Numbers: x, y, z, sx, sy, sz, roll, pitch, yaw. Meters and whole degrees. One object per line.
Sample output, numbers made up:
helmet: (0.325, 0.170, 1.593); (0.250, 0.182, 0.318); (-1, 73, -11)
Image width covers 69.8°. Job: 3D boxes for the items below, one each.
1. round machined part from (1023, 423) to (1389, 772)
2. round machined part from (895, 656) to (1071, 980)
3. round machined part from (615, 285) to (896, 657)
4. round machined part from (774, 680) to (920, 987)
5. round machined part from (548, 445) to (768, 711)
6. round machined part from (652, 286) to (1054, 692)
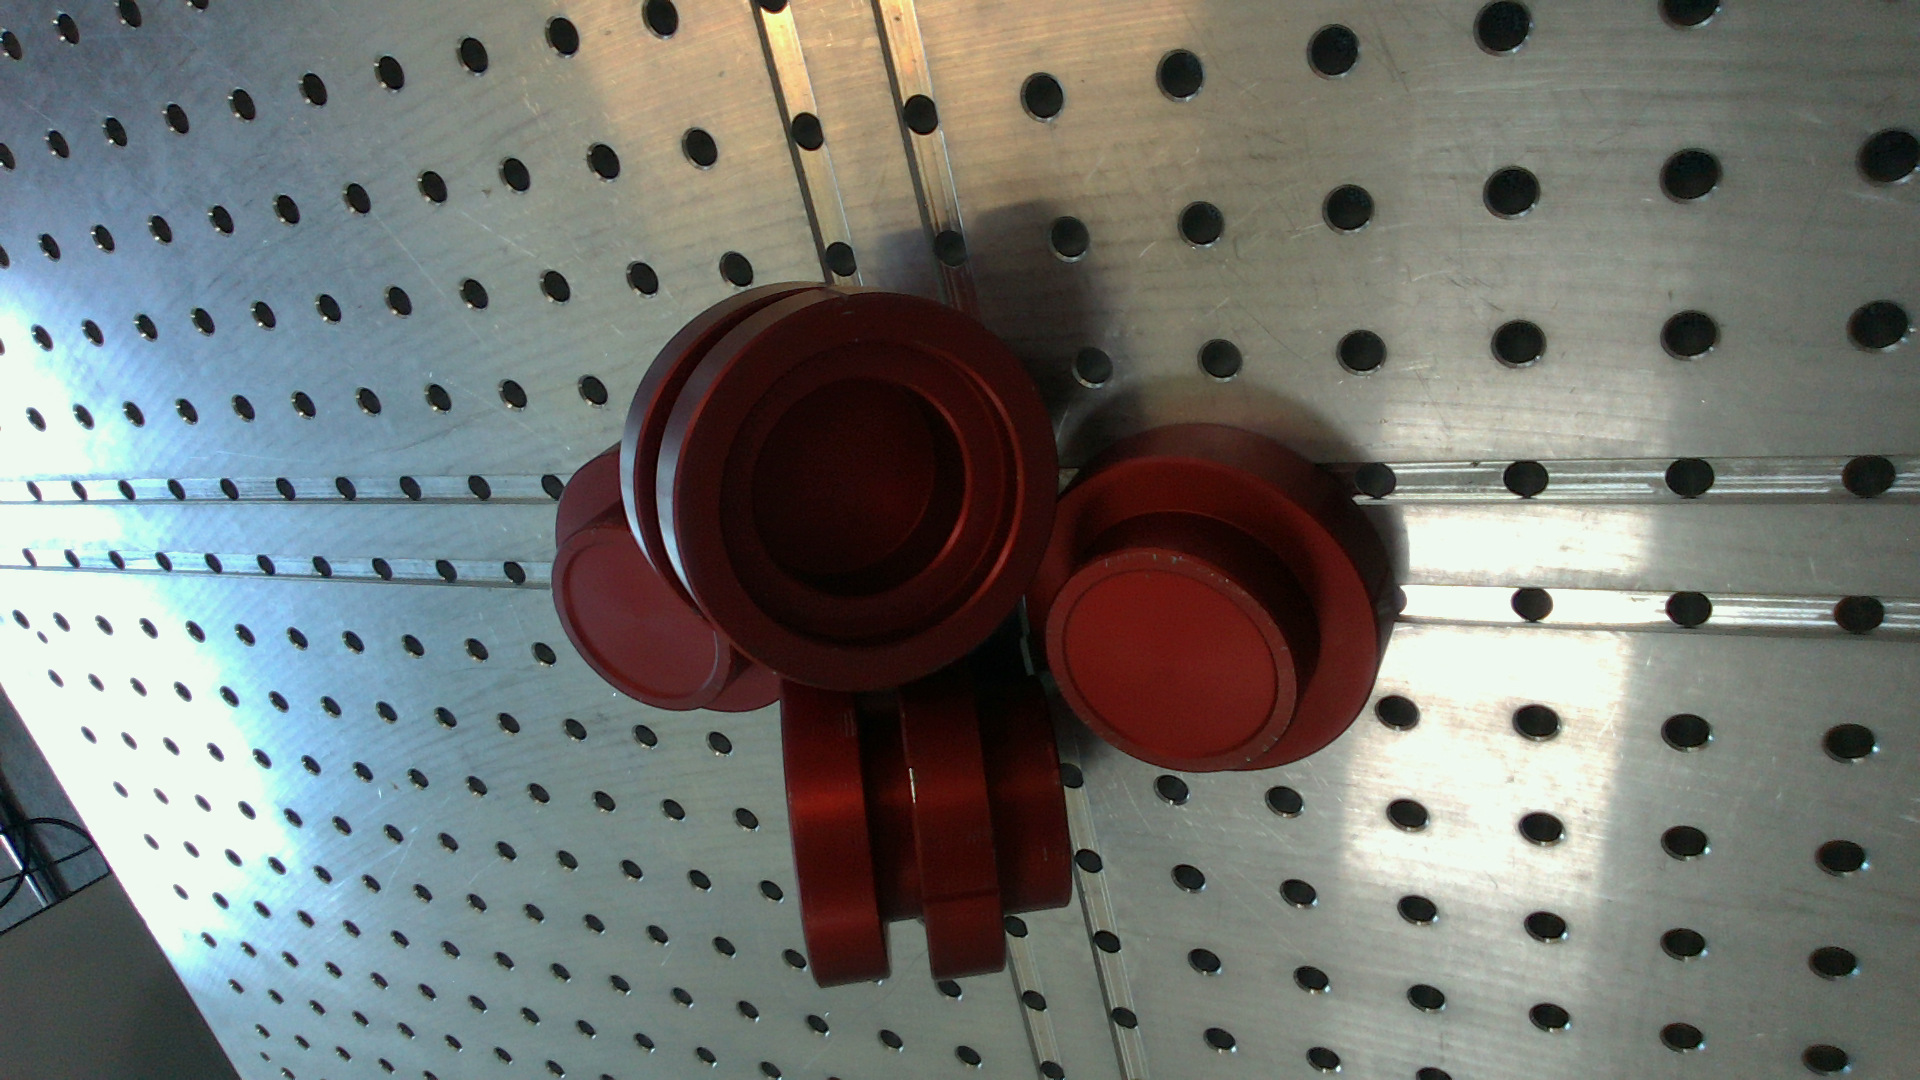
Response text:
round machined part: (0.061, 0.022, 0.366); (0.098, 0.042, 0.098); (13, 124, 21)
round machined part: (0.006, 0.076, 0.404); (0.042, 0.098, 0.098); (-7, 120, -4)
round machined part: (-0.044, -0.021, 0.374); (0.042, 0.098, 0.098); (31, 144, 63)
round machined part: (-0.027, 0.078, 0.405); (0.042, 0.098, 0.098); (-7, 120, -4)
round machined part: (-0.092, 0.015, 0.443); (0.098, 0.042, 0.098); (13, 124, 21)
round machined part: (-0.029, -0.015, 0.347); (0.042, 0.098, 0.098); (31, 144, 63)
